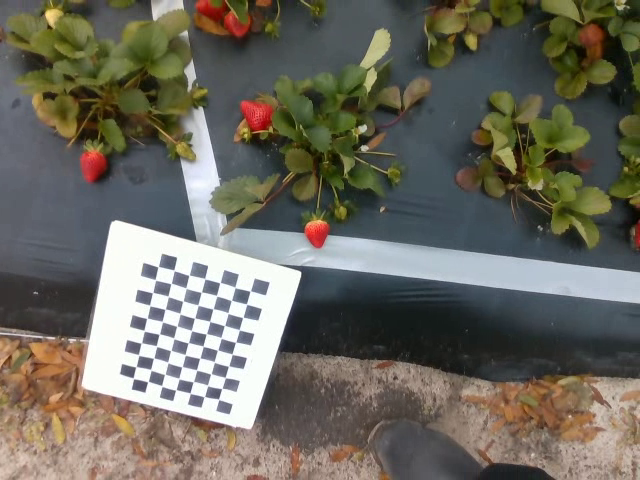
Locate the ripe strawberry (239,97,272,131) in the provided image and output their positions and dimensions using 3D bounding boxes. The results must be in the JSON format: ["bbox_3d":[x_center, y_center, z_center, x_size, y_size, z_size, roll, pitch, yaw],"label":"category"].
[{"bbox_3d":[-0.090,-0.180,0.799,0.062,0.043,0.043,37,23,-4],"label":"ripe strawberry"}]

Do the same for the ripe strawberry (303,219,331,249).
[{"bbox_3d":[-0.003,-0.011,0.800,0.039,0.047,0.041,-15,12,16],"label":"ripe strawberry"}]

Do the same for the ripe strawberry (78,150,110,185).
[{"bbox_3d":[-0.293,-0.096,0.740,0.036,0.046,0.040,5,-25,10],"label":"ripe strawberry"}]
